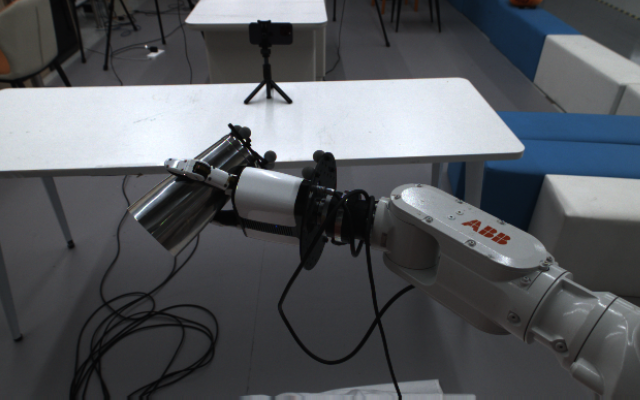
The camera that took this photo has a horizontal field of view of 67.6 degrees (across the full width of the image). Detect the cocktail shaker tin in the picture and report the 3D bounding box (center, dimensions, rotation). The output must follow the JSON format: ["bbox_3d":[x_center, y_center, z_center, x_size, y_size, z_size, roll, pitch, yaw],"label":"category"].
[{"bbox_3d":[-0.170,-0.015,0.675,0.170,0.093,0.093,-43,50,-14],"label":"cocktail shaker tin"}]
